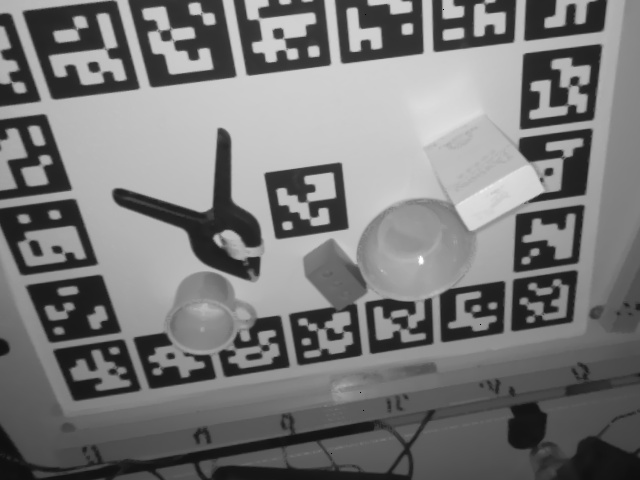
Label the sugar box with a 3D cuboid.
[{"bbox_3d":[0.199,-0.079,0.795,0.092,0.177,0.045,-30,114,13],"label":"sugar box"}]

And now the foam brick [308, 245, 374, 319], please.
[{"bbox_3d":[0.028,0.057,0.925,0.052,0.051,0.078,-34,115,11],"label":"foam brick"}]

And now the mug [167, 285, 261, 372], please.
[{"bbox_3d":[-0.135,0.115,0.913,0.118,0.082,0.092,16,116,-9],"label":"mug"}]

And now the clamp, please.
[{"bbox_3d":[-0.122,-0.010,0.870,0.165,0.037,0.203,-31,115,8],"label":"clamp"}]

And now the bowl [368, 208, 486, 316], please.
[{"bbox_3d":[0.140,0.019,0.908,0.162,0.055,0.160,-2,118,-3],"label":"bowl"}]
